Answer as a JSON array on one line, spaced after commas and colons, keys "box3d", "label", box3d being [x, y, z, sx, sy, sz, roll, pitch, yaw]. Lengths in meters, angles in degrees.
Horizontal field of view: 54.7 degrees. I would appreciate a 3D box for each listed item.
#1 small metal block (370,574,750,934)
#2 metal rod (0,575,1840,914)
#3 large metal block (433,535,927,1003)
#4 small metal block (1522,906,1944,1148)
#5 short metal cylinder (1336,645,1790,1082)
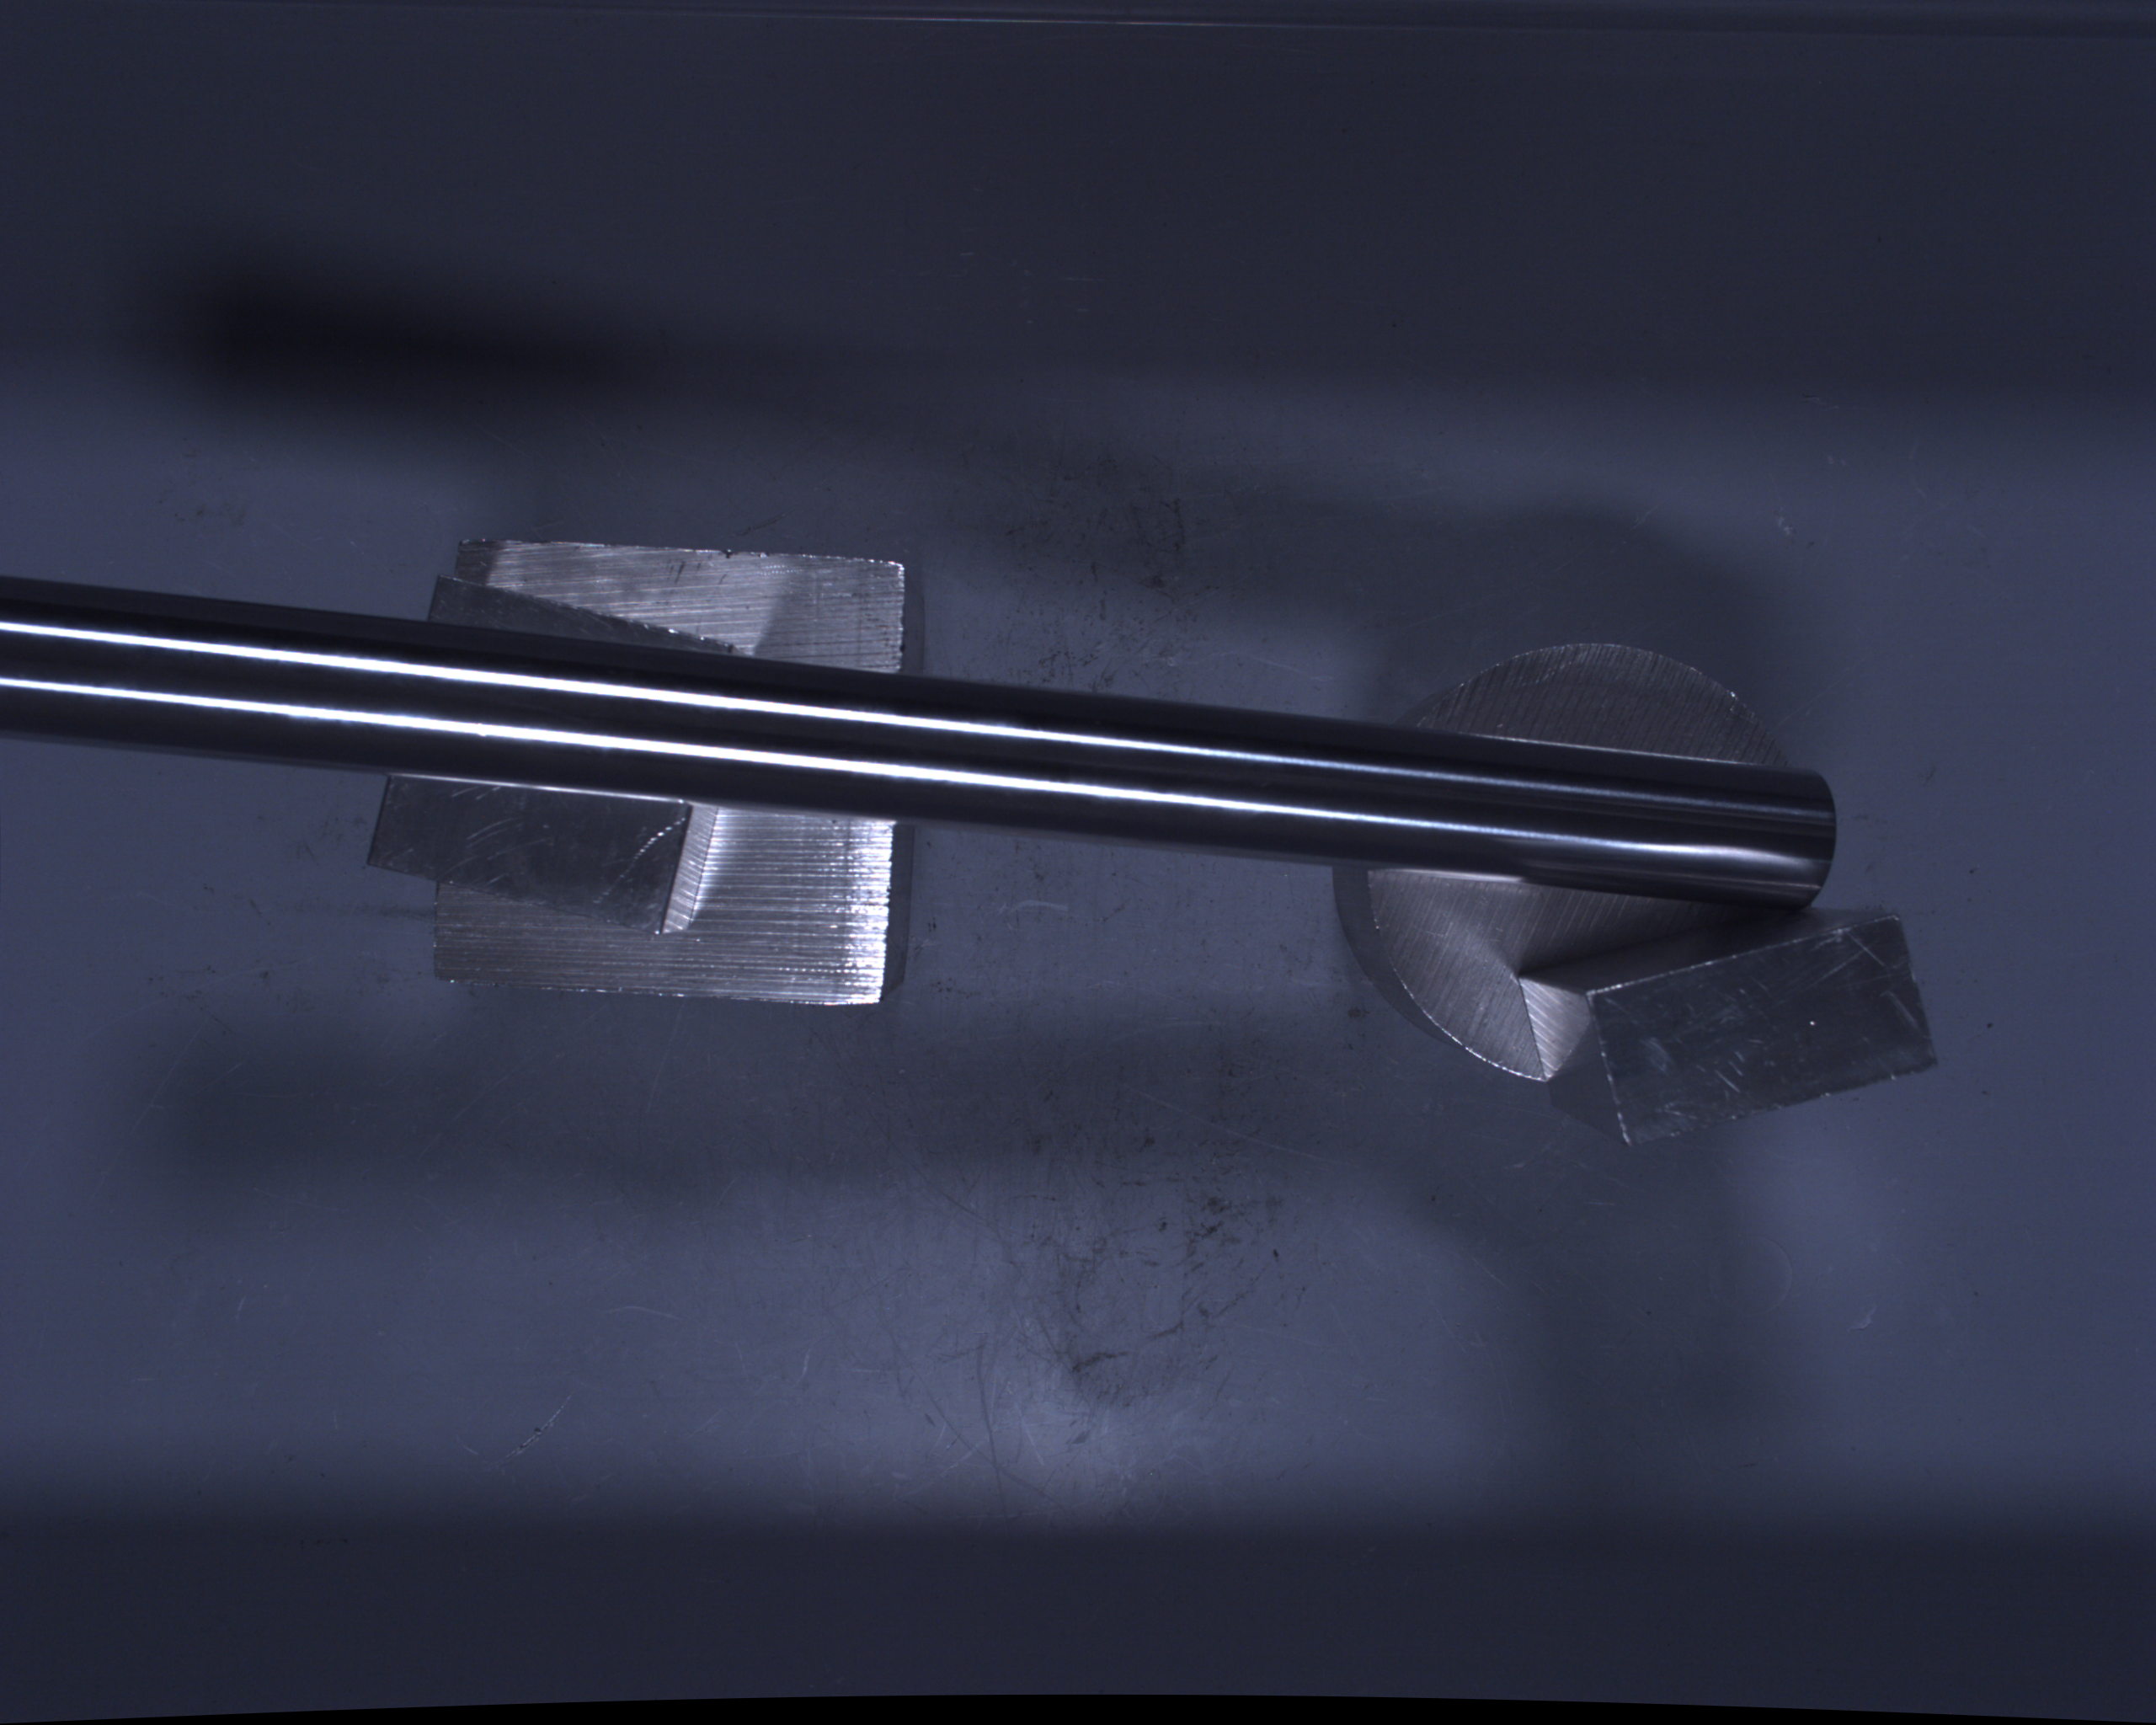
[{"box3d": [-0.087, -0.018, 0.359, 0.050, 0.025, 0.050, 13, 89, -1], "label": "small metal block"}, {"box3d": [-0.023, -0.018, 0.339, 0.302, 0.025, 0.025, 6, 90, -8], "label": "metal rod"}, {"box3d": [-0.072, -0.017, 0.395, 0.081, 0.050, 0.079, 3, 90, -1], "label": "large metal block"}, {"box3d": [0.107, 0.026, 0.348, 0.050, 0.050, 0.025, -14, 90, 0], "label": "small metal block"}, {"box3d": [0.092, 0.001, 0.398, 0.081, 0.050, 0.079, 0, 90, -1], "label": "short metal cylinder"}]
